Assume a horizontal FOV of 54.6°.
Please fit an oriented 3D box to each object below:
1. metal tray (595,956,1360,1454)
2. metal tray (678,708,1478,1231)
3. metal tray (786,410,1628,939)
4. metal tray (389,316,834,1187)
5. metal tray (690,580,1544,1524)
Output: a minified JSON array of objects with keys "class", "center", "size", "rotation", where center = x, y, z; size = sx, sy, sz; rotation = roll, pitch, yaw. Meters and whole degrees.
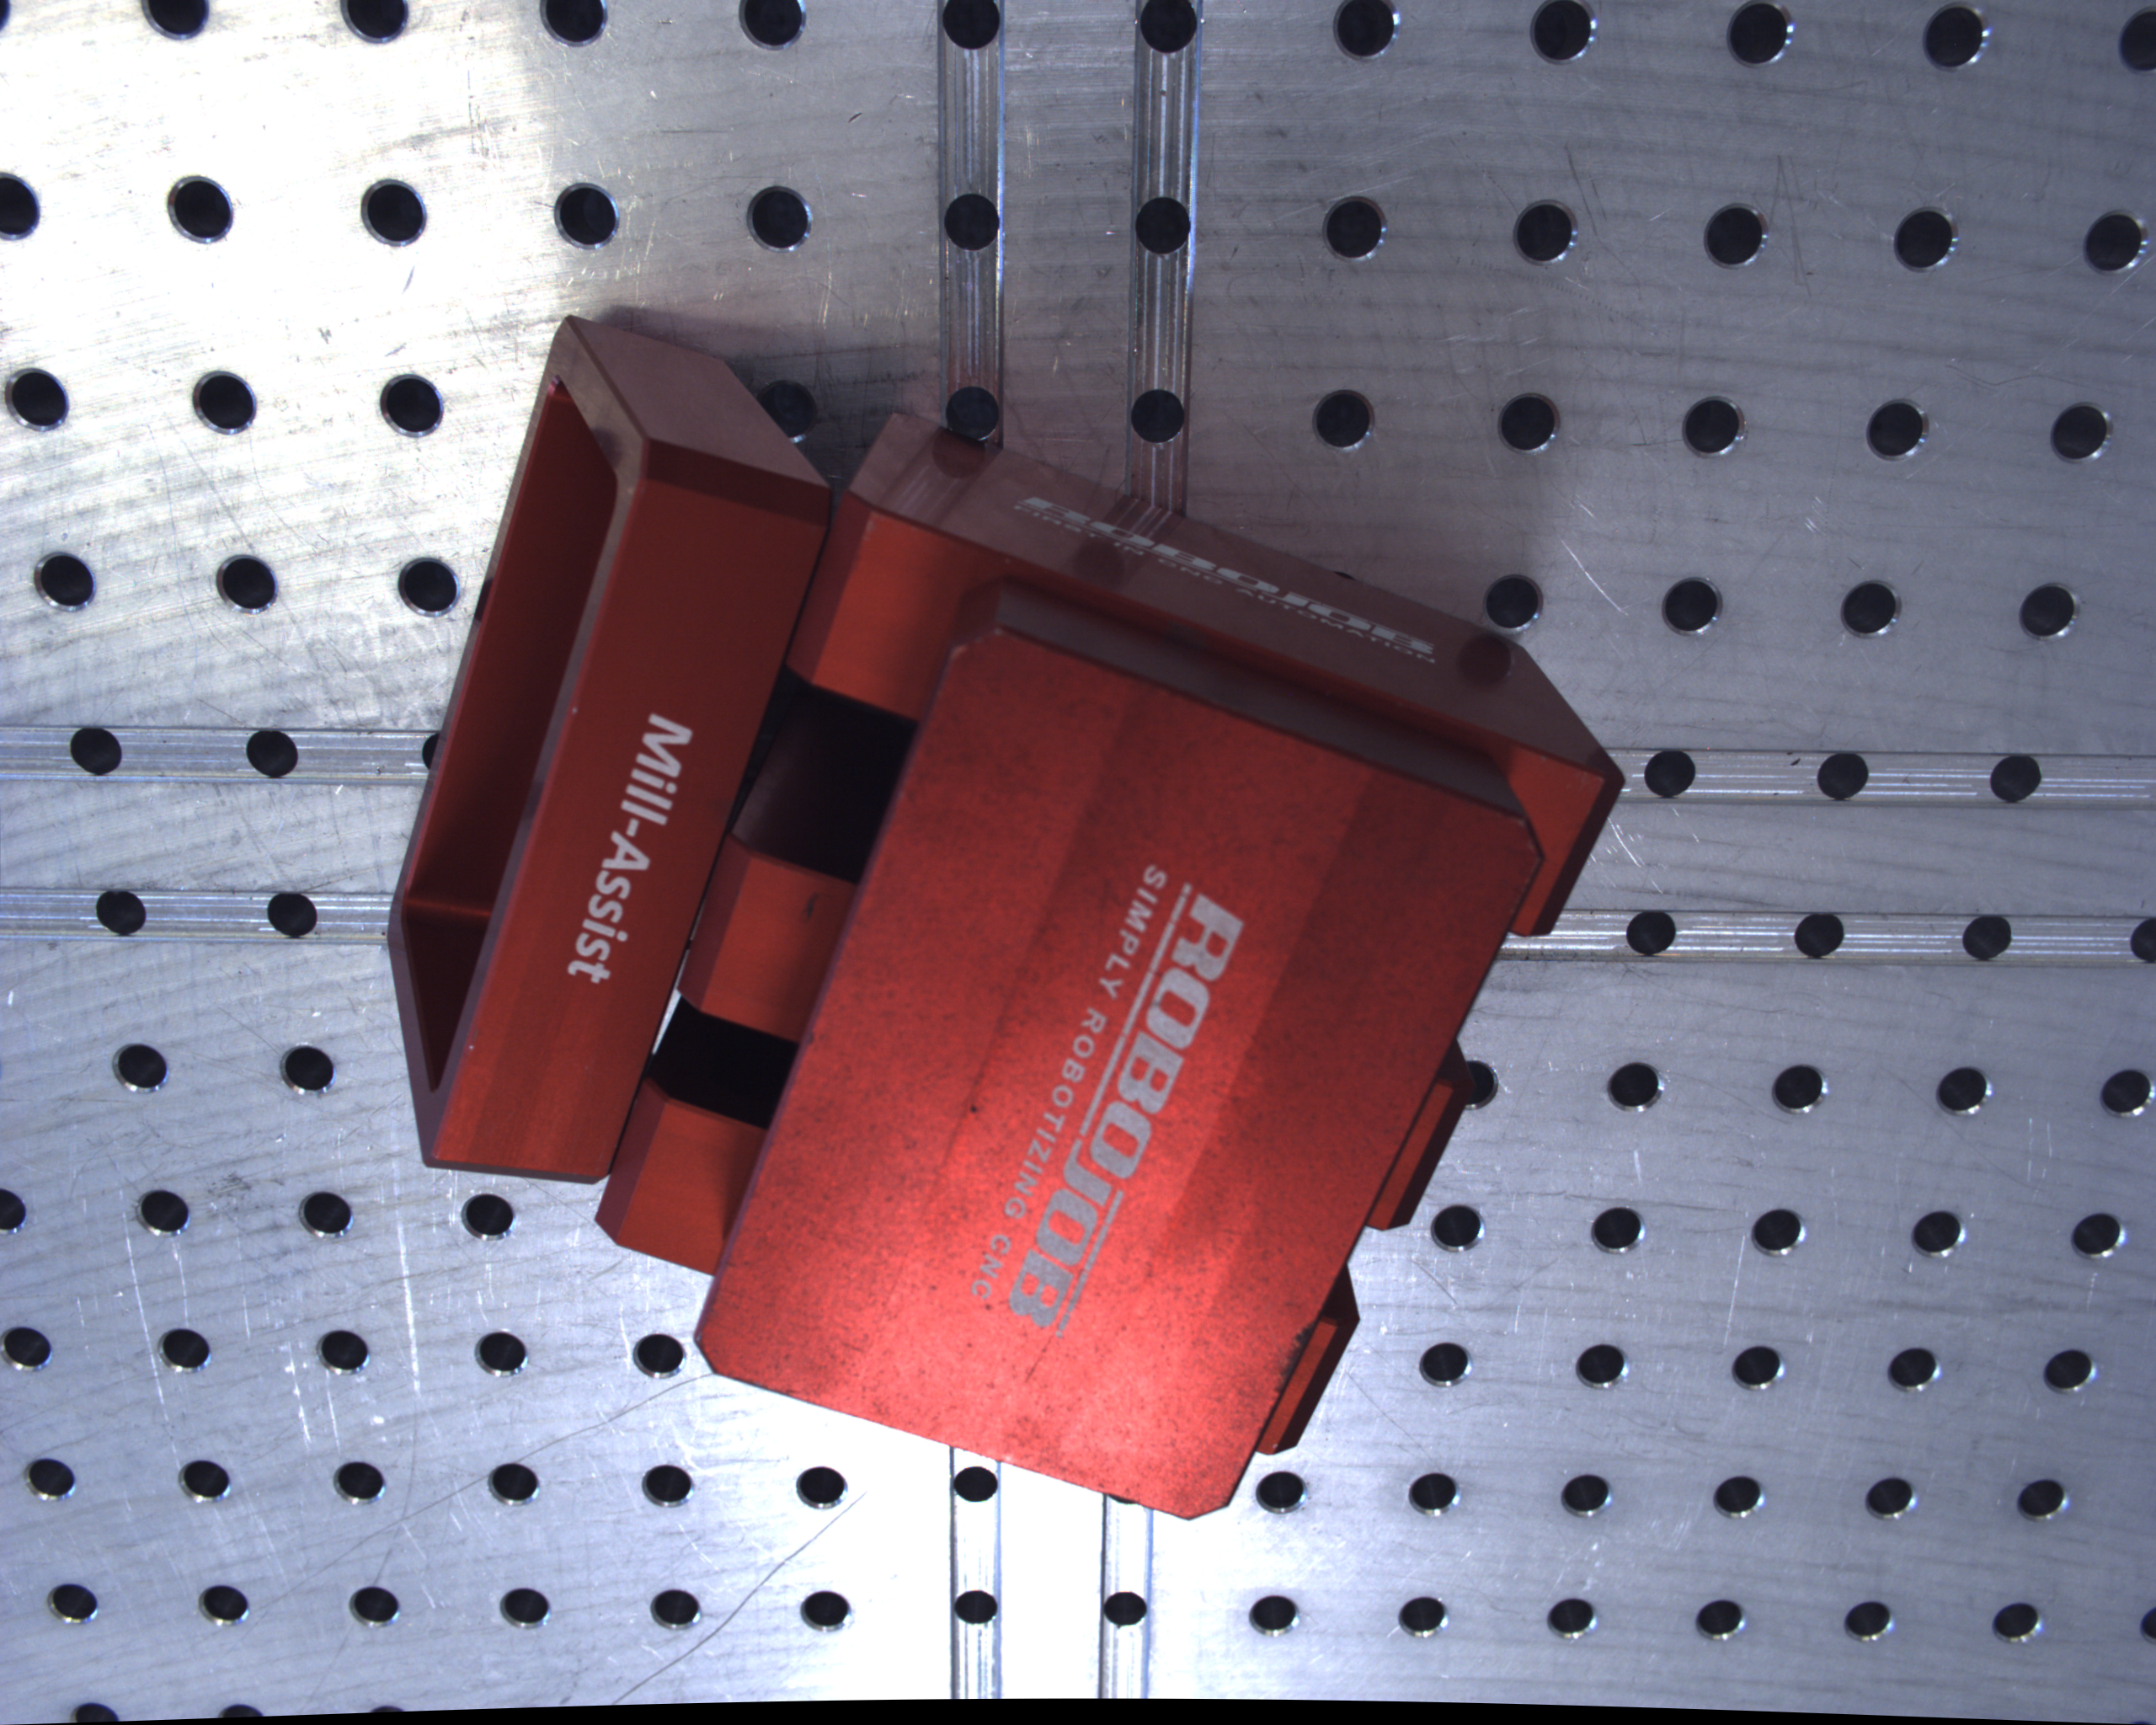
[{"class":"metal tray","center":[-0.017,0.057,0.399],"size":[0.131,0.090,0.030],"rotation":[20,109,-8]},{"class":"metal tray","center":[0.000,0.016,0.383],"size":[0.131,0.090,0.030],"rotation":[18,108,-8]},{"class":"metal tray","center":[0.021,-0.036,0.364],"size":[0.131,0.090,0.030],"rotation":[20,109,-7]},{"class":"metal tray","center":[-0.087,-0.021,0.367],"size":[0.030,0.090,0.129],"rotation":[12,111,-28]},{"class":"metal tray","center":[0.003,0.032,0.326],"size":[0.090,0.030,0.129],"rotation":[20,109,-7]}]
